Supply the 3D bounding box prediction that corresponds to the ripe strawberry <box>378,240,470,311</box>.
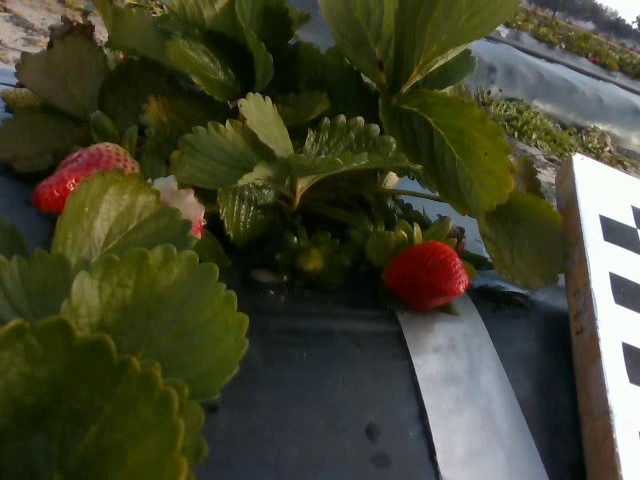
[{"bbox_3d":[0.054,0.016,0.274,0.050,0.036,0.055,24,25,-11],"label":"ripe strawberry"}]
